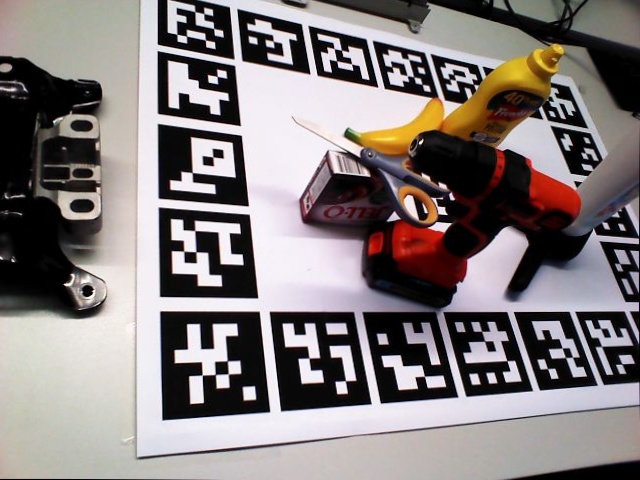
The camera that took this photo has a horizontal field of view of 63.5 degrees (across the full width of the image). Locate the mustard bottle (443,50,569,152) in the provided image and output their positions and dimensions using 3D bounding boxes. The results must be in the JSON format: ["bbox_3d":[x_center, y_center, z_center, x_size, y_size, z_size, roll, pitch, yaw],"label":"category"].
[{"bbox_3d":[0.265,-0.188,0.722,0.096,0.193,0.058,17,57,-18],"label":"mustard bottle"}]

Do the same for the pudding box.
[{"bbox_3d":[0.047,-0.058,0.602,0.113,0.090,0.038,8,53,-22],"label":"pudding box"}]

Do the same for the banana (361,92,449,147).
[{"bbox_3d":[0.139,-0.176,0.737,0.074,0.039,0.196,36,52,18],"label":"banana"}]

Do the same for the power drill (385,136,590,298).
[{"bbox_3d":[0.142,-0.016,0.527,0.184,0.188,0.057,14,51,-15],"label":"power drill"}]

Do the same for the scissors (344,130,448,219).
[{"bbox_3d":[0.062,-0.095,0.550,0.203,0.016,0.087,28,58,-15],"label":"scissors"}]

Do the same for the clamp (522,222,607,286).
[{"bbox_3d":[0.332,-0.019,0.730,0.202,0.037,0.165,-3,66,-28],"label":"clamp"}]

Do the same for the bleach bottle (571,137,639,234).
[{"bbox_3d":[0.402,-0.079,0.667,0.102,0.252,0.068,-18,68,-25],"label":"bleach bottle"}]
